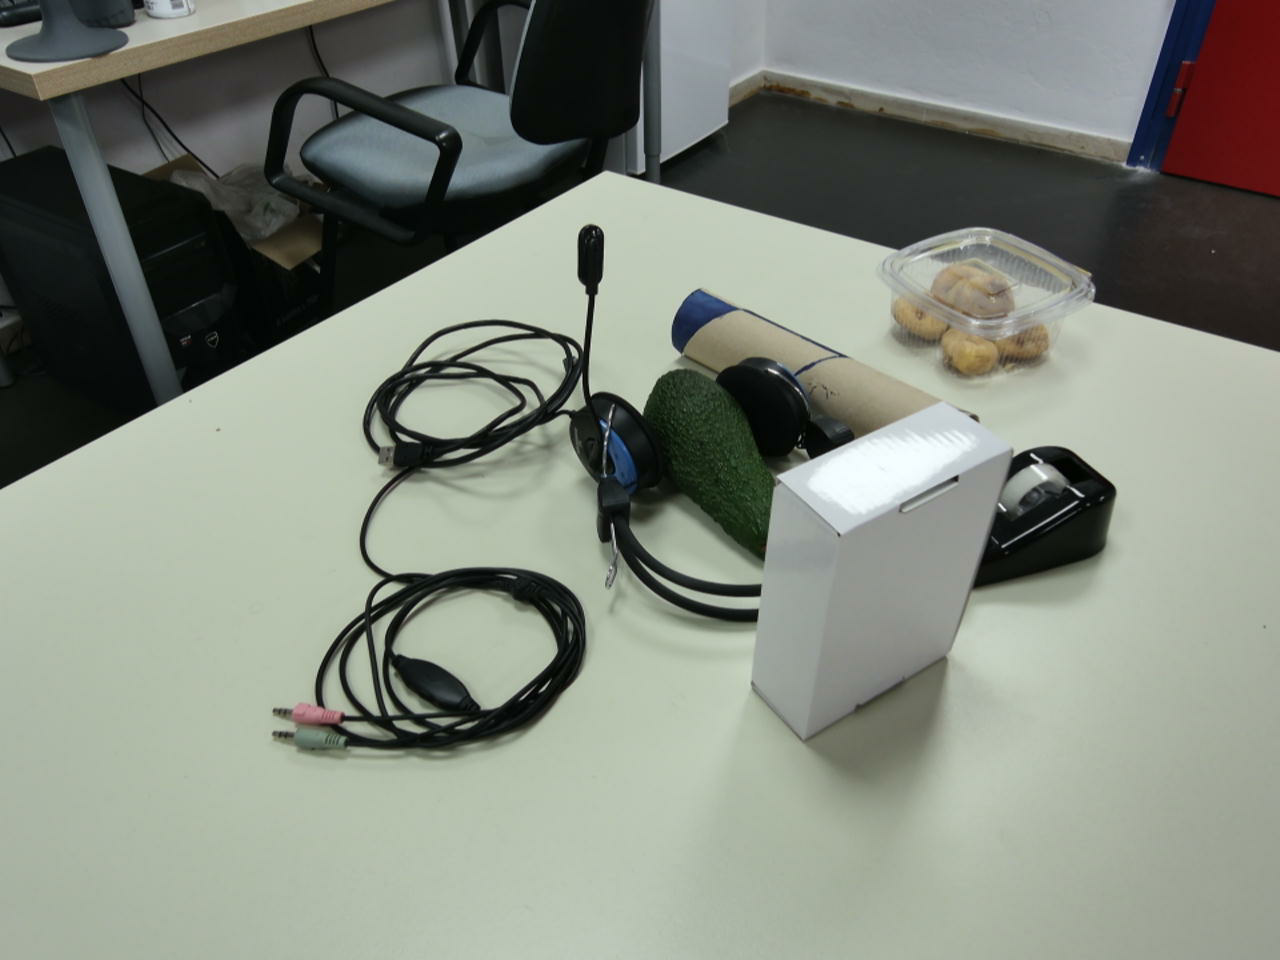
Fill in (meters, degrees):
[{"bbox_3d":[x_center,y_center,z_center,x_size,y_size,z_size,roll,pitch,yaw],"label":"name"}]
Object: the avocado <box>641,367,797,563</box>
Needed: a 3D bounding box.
[{"bbox_3d":[0.051,-0.016,0.585,0.063,0.067,0.141,-25,44,-29],"label":"avocado"}]
